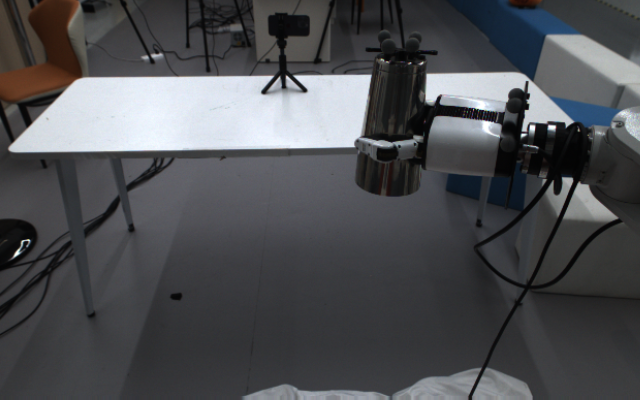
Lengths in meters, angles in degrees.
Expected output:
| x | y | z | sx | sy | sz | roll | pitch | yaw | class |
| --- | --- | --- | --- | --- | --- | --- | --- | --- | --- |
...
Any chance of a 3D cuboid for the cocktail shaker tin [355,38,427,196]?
| x | y | z | sx | sy | sz | roll | pitch | yaw | class |
| --- | --- | --- | --- | --- | --- | --- | --- | --- | --- |
| 0.099 | -0.102 | 0.641 | 0.093 | 0.170 | 0.093 | 2 | 28 | -1 | cocktail shaker tin |
